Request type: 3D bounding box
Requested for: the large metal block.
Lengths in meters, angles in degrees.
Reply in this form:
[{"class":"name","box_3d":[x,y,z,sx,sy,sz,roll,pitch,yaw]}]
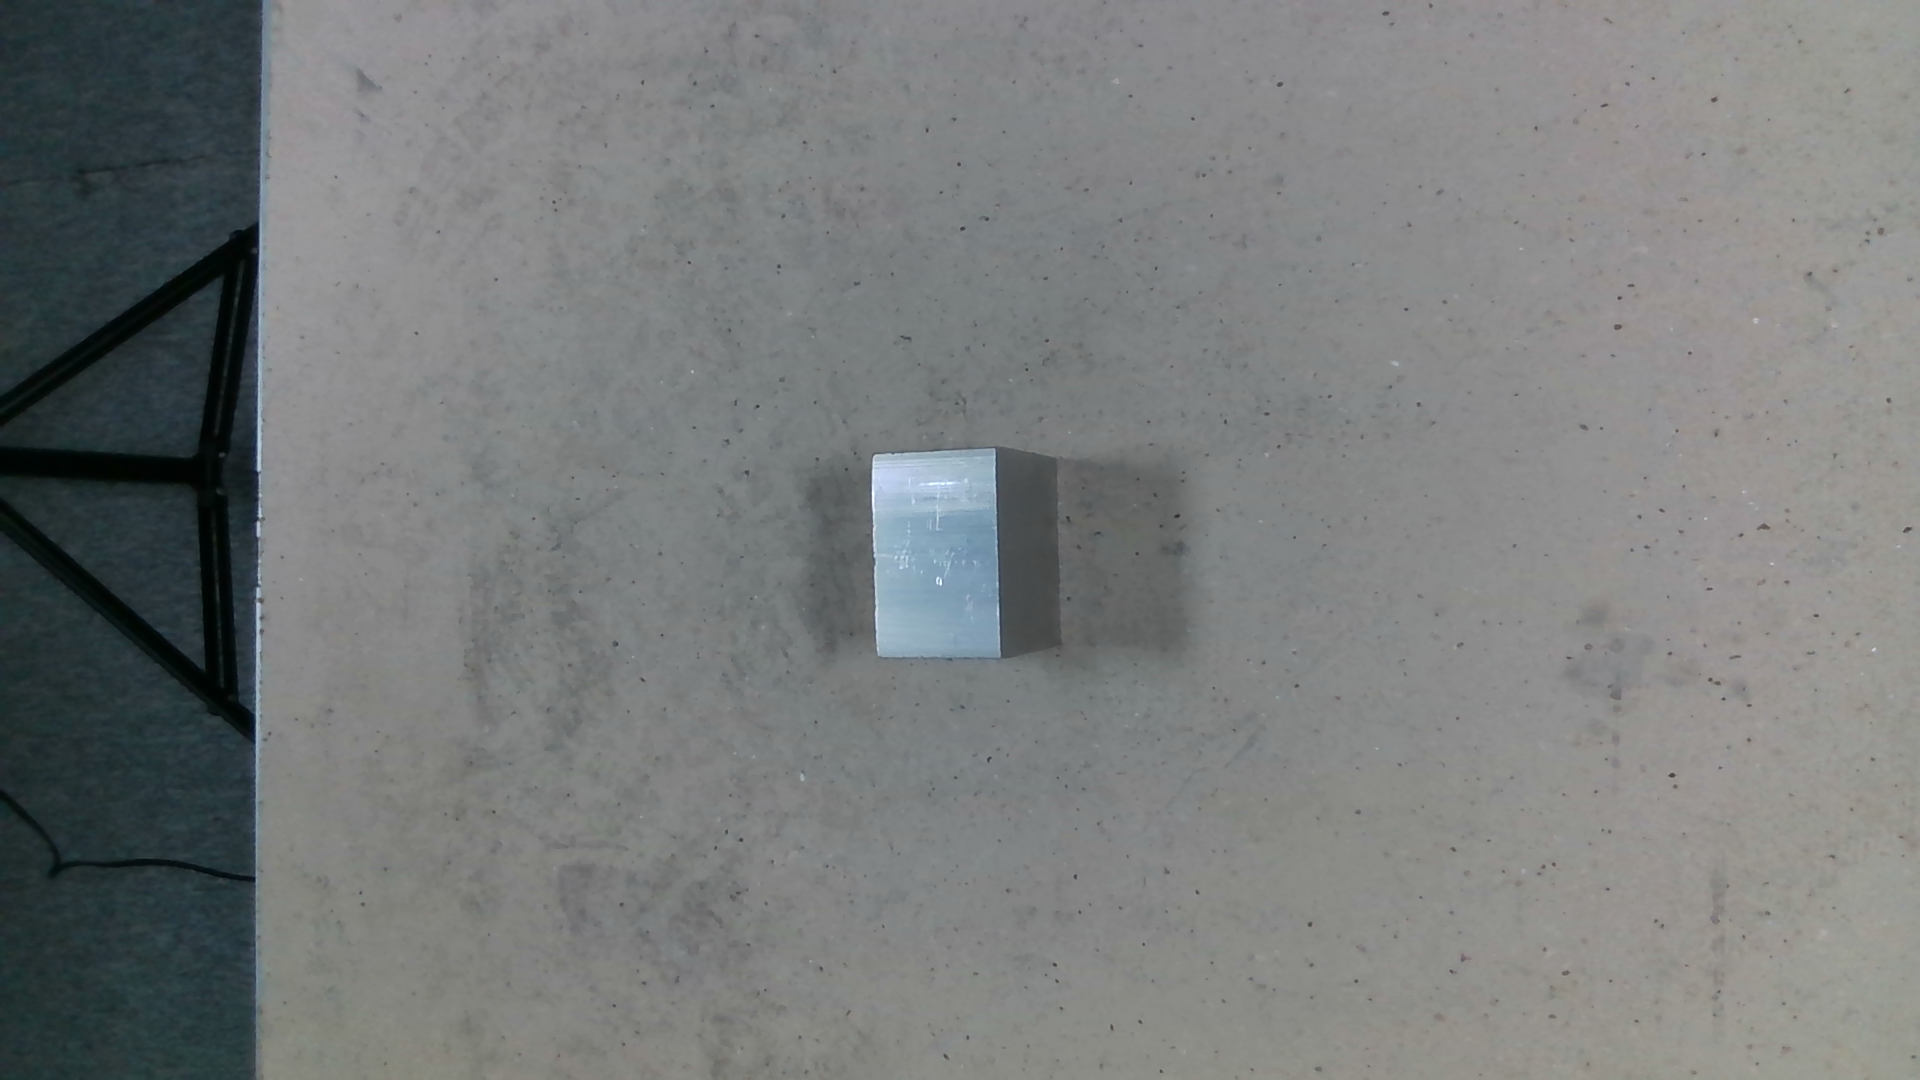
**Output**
[{"class":"large metal block","box_3d":[0.004,0.005,0.555,0.050,0.080,0.080,-1,90,20]}]
